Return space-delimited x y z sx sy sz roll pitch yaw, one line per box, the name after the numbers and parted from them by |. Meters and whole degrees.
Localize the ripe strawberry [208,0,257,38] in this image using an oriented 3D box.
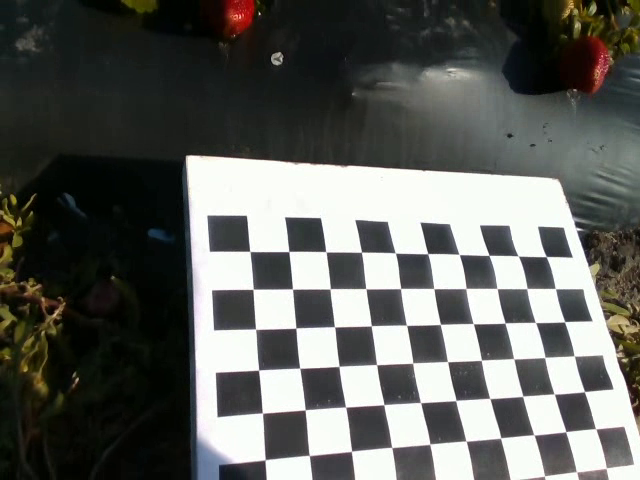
-0.061 -0.155 0.447 0.045 0.042 0.055 12 30 -21 | ripe strawberry

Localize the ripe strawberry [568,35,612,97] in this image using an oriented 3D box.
0.198 -0.126 0.499 0.042 0.059 0.042 24 -43 -14 | ripe strawberry
